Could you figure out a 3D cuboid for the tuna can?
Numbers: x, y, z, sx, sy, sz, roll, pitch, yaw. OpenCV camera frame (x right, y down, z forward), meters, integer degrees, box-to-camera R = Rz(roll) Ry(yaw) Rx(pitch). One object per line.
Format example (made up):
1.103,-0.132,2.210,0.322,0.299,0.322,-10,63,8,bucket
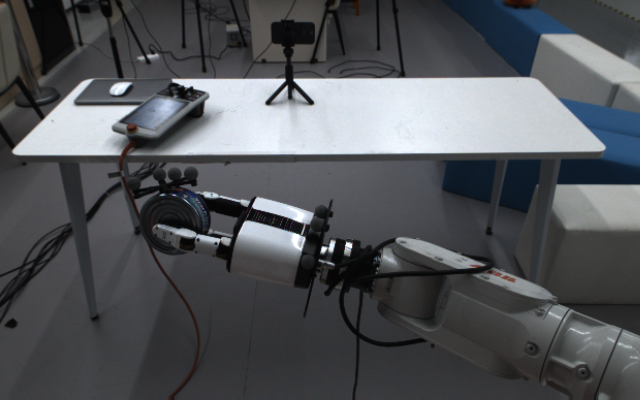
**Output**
-0.186,0.034,0.628,0.085,0.085,0.034,6,18,5,tuna can
